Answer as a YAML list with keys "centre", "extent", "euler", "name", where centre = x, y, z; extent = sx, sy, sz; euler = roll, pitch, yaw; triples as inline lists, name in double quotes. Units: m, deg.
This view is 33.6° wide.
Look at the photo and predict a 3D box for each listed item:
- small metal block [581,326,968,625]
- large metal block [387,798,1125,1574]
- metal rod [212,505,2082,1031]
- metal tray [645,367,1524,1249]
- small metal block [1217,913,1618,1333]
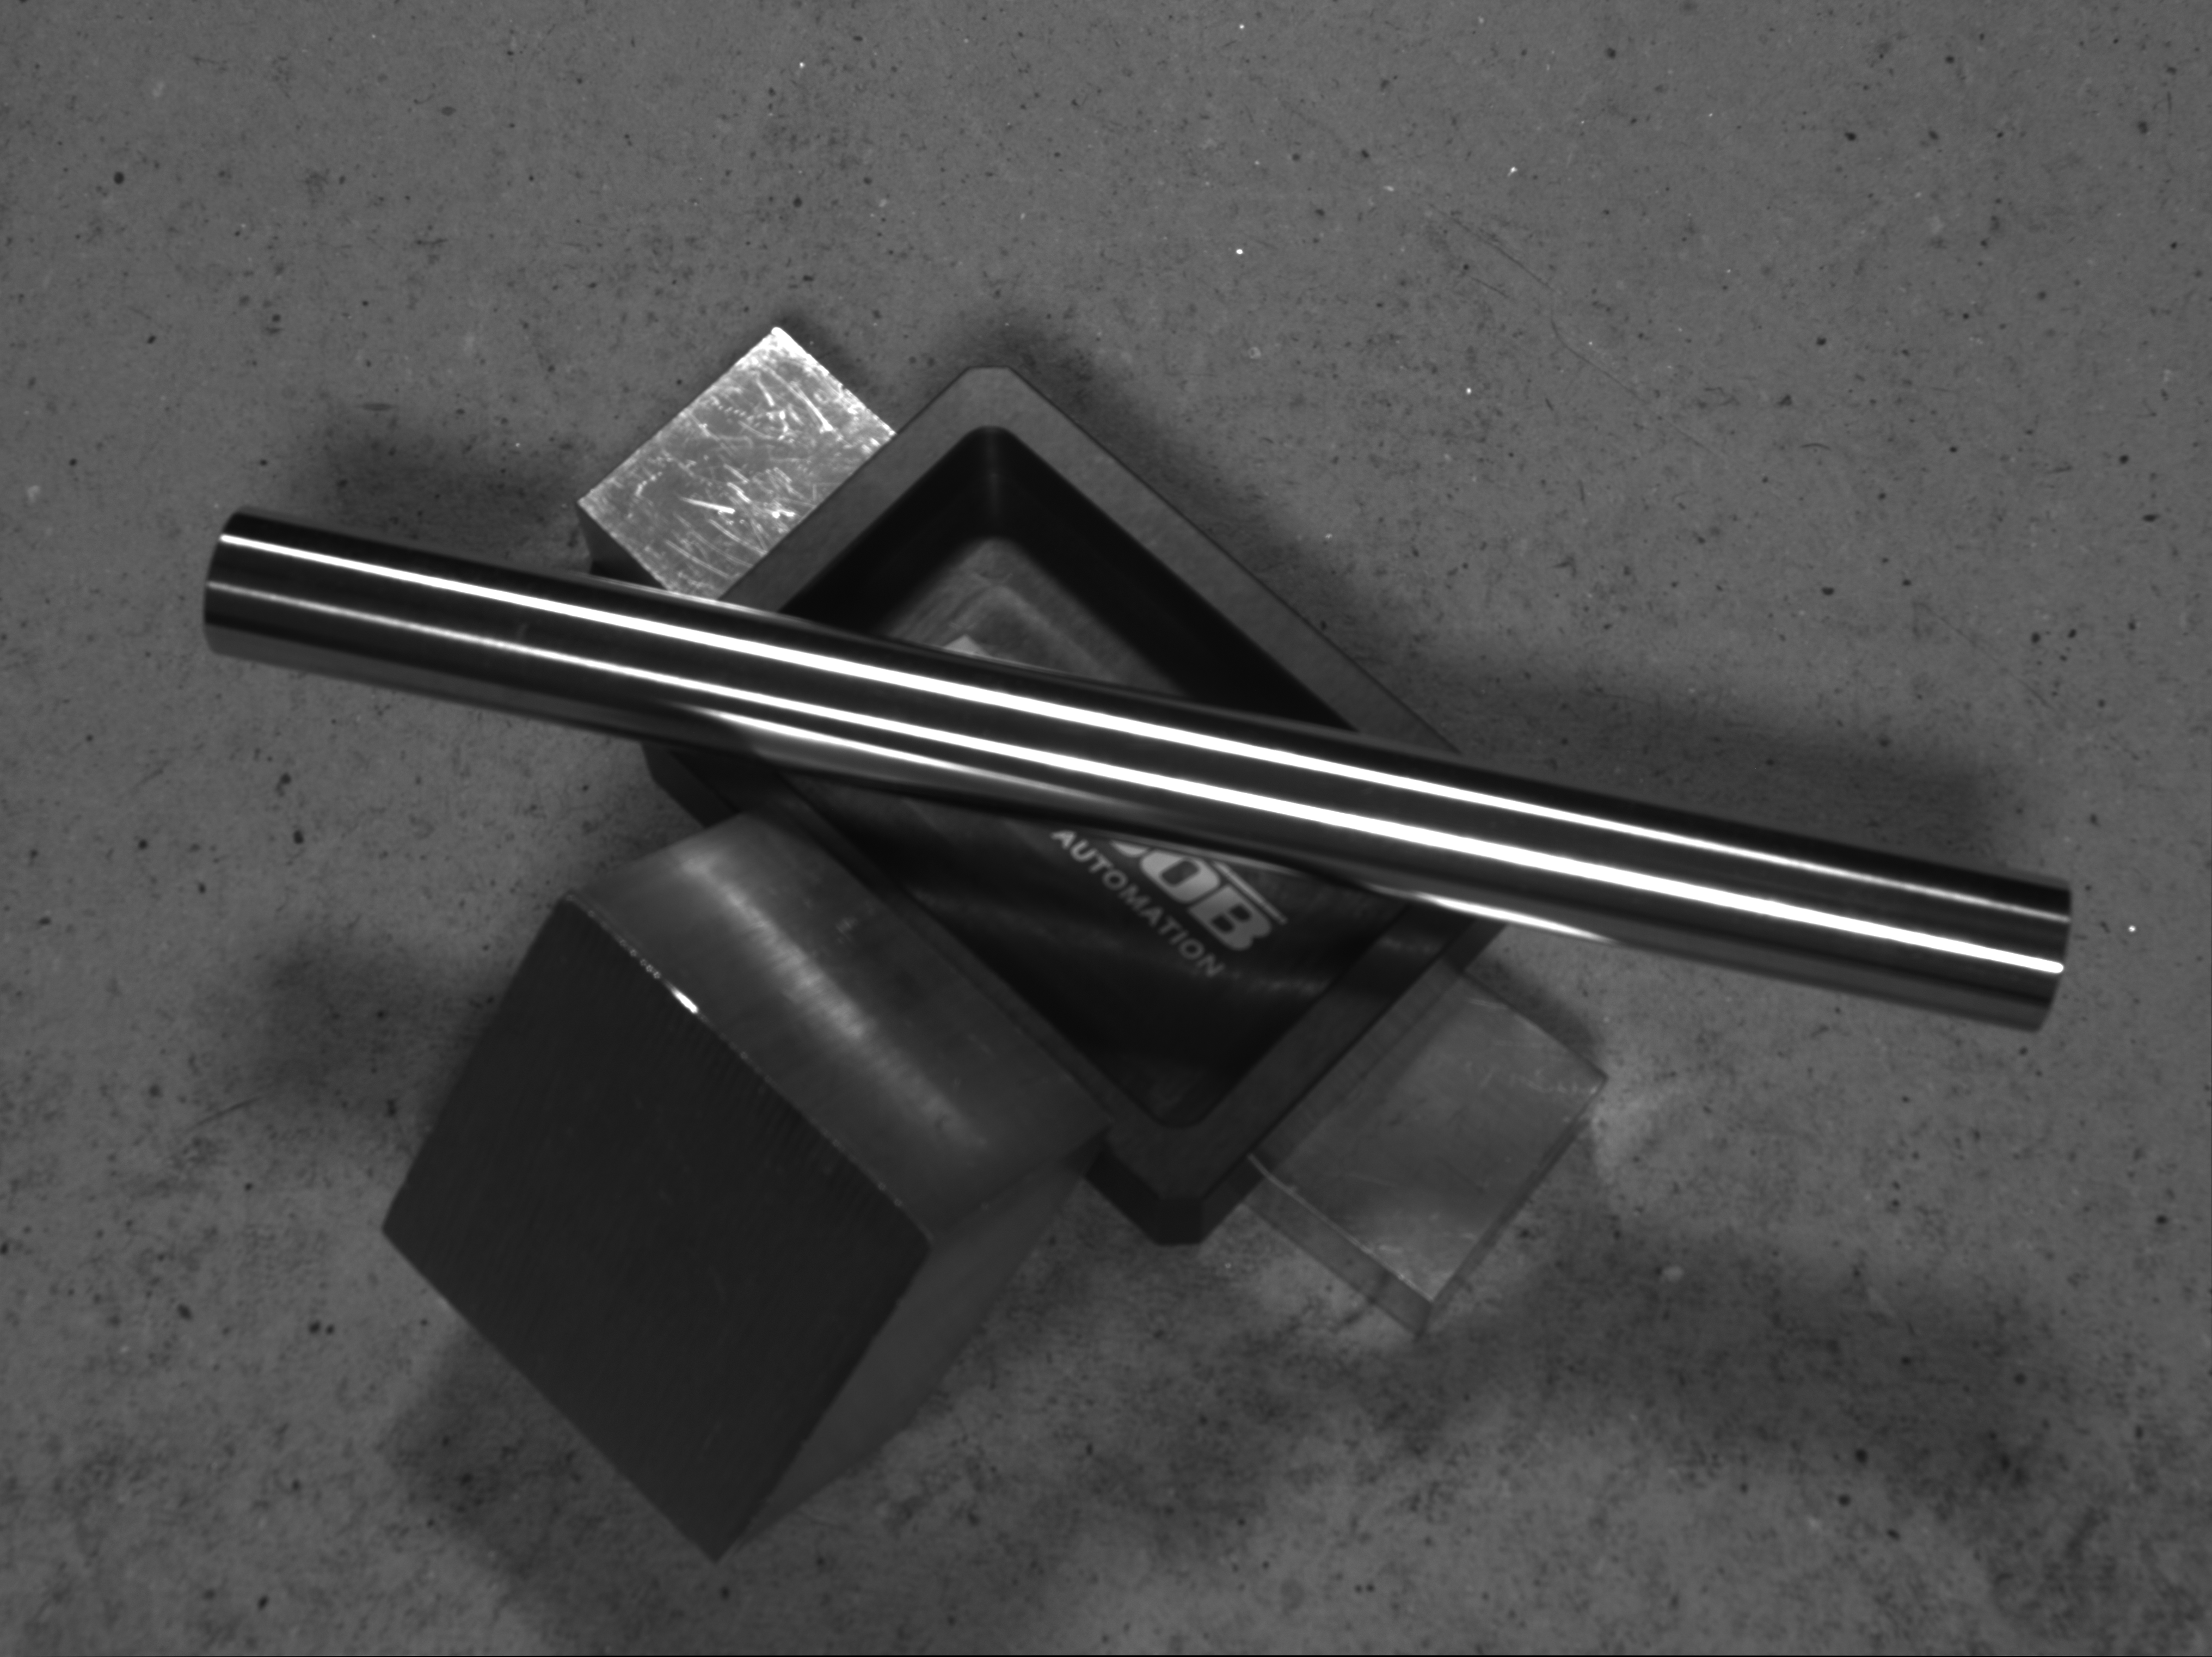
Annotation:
- centre: [-0.058, -0.054, 0.664]
  extent: [0.050, 0.025, 0.050]
  euler: [43, 75, 14]
  name: "small metal block"
- centre: [-0.057, 0.056, 0.586]
  extent: [0.080, 0.080, 0.050]
  euler: [41, 33, 14]
  name: "large metal block"
- centre: [0.004, -0.011, 0.590]
  extent: [0.300, 0.025, 0.025]
  euler: [12, 70, 4]
  name: "metal rod"
- centre: [-0.003, -0.005, 0.617]
  extent: [0.130, 0.030, 0.090]
  euler: [42, 75, 14]
  name: "metal tray"
- centre: [0.051, 0.050, 0.627]
  extent: [0.050, 0.025, 0.050]
  euler: [37, 74, 12]
  name: "small metal block"
